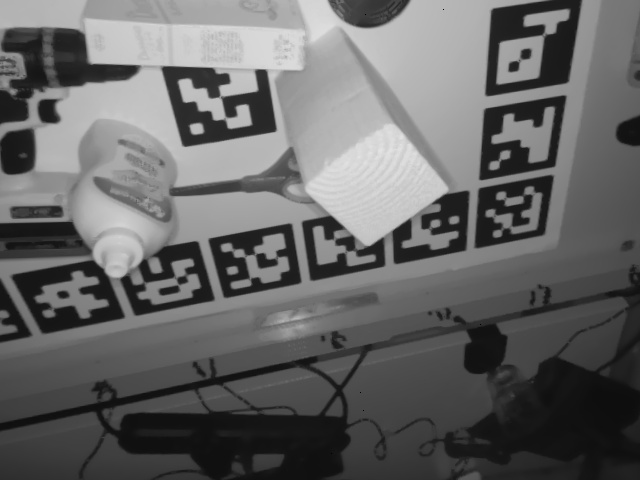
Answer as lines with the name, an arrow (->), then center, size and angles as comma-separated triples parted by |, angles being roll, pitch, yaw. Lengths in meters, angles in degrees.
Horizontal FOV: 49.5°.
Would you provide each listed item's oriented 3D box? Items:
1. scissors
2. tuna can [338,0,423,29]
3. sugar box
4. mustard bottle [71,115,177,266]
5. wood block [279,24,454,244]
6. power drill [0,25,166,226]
scissors -> -0.049, -0.062, 0.751 | 0.204, 0.016, 0.087 | -8, 131, -7
tuna can -> 0.054, -0.239, 0.630 | 0.086, 0.034, 0.085 | -6, 126, -8
sugar box -> -0.104, -0.190, 0.598 | 0.178, 0.093, 0.045 | 1, 129, -11
mustard bottle -> -0.178, -0.040, 0.637 | 0.097, 0.192, 0.058 | 35, 112, -30
wood block -> 0.035, -0.104, 0.633 | 0.090, 0.207, 0.090 | -33, 125, 12
power drill -> -0.239, -0.106, 0.648 | 0.186, 0.057, 0.185 | 0, 119, -14
